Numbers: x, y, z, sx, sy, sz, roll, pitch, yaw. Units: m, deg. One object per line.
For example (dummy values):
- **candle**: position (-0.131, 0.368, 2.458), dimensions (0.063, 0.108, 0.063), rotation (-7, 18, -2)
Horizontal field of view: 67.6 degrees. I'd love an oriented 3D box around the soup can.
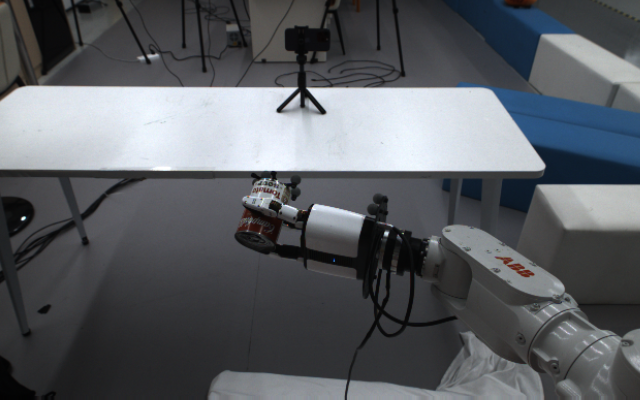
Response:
- **soup can**: position (-0.090, 0.025, 0.782), dimensions (0.067, 0.067, 0.101), rotation (9, 60, 10)
